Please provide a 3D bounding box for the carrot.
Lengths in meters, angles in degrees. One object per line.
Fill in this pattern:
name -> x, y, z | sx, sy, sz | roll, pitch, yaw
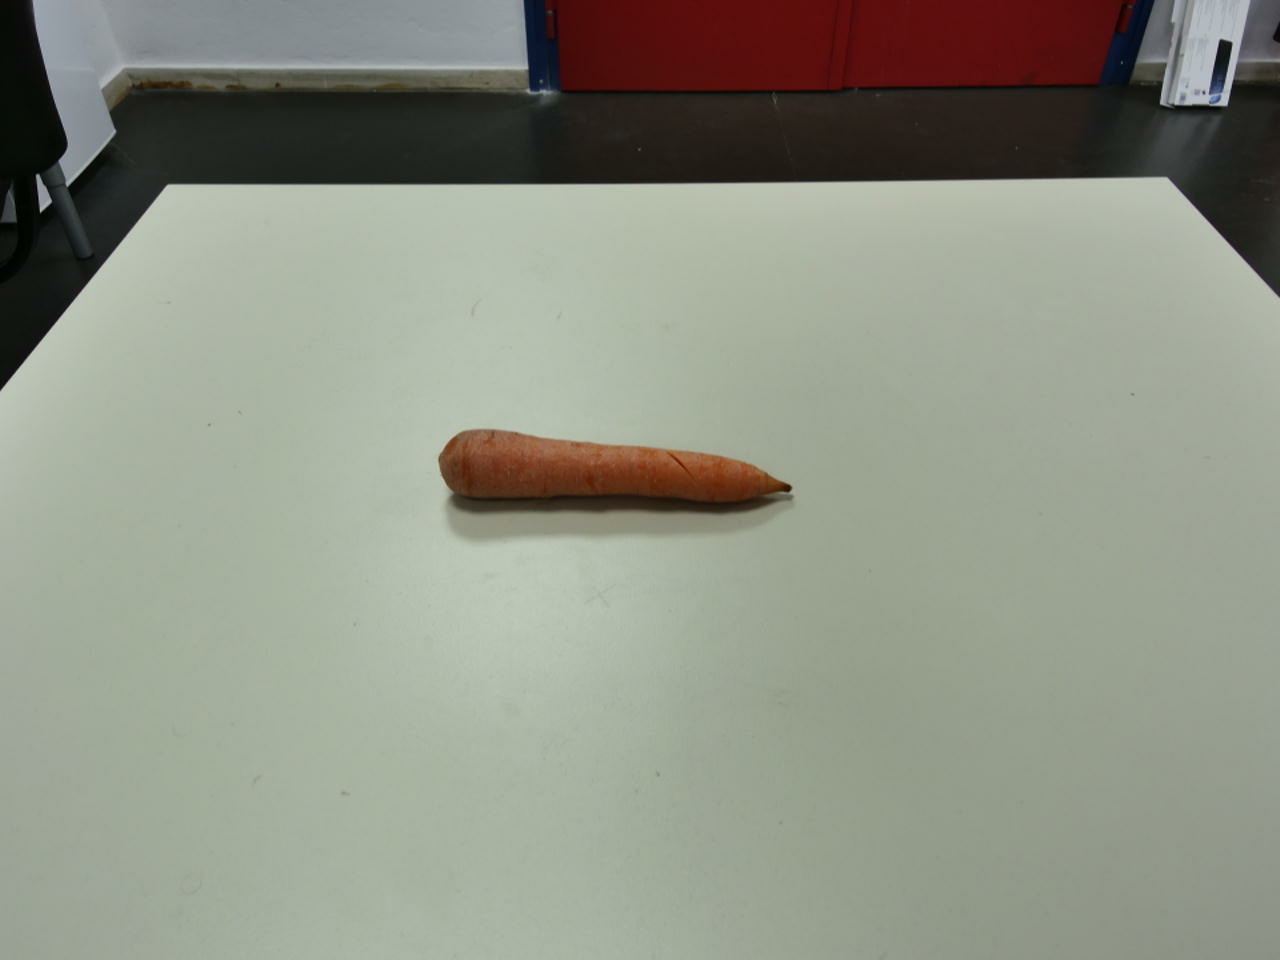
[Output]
carrot -> -0.012, -0.008, 0.552 | 0.196, 0.041, 0.039 | 1, 39, 0
